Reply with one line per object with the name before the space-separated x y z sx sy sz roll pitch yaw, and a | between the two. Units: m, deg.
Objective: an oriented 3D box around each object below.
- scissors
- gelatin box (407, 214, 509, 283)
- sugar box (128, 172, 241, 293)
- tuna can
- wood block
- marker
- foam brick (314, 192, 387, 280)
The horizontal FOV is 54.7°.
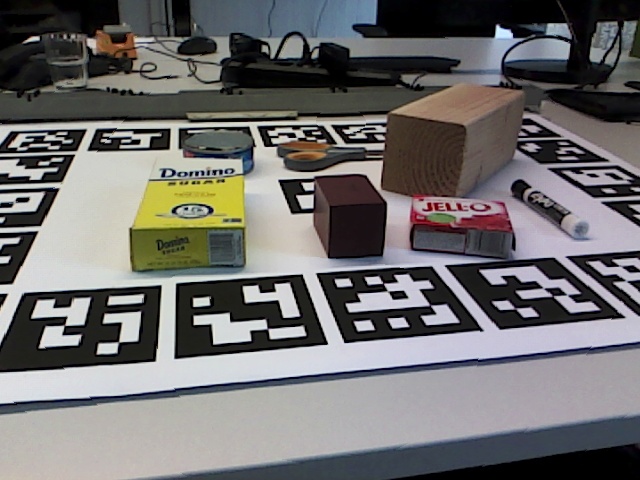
scissors | 0.038 -0.099 0.789 0.202 0.016 0.088 -2 29 -2
gelatin box | 0.129 0.006 0.588 0.089 0.030 0.073 5 30 6
sugar box | -0.123 -0.014 0.594 0.093 0.045 0.177 -1 29 -7
tuna can | -0.130 -0.095 0.745 0.086 0.033 0.086 1 29 -1
wood block | 0.166 -0.106 0.739 0.090 0.091 0.205 18 32 28
marker | 0.228 -0.017 0.643 0.019 0.019 0.121 -3 31 -9
foam brick | 0.026 -0.005 0.570 0.052 0.051 0.078 -3 30 -9
